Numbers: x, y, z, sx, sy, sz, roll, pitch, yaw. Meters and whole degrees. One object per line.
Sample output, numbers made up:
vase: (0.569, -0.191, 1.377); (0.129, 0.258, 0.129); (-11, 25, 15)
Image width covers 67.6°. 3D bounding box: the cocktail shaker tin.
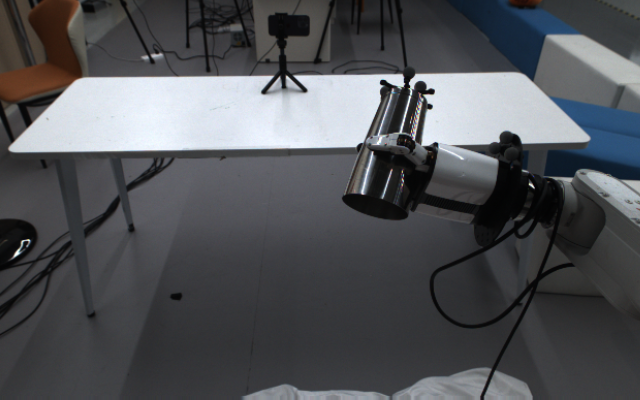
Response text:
cocktail shaker tin: (0.099, -0.067, 0.676); (0.093, 0.093, 0.170); (13, 74, 16)
